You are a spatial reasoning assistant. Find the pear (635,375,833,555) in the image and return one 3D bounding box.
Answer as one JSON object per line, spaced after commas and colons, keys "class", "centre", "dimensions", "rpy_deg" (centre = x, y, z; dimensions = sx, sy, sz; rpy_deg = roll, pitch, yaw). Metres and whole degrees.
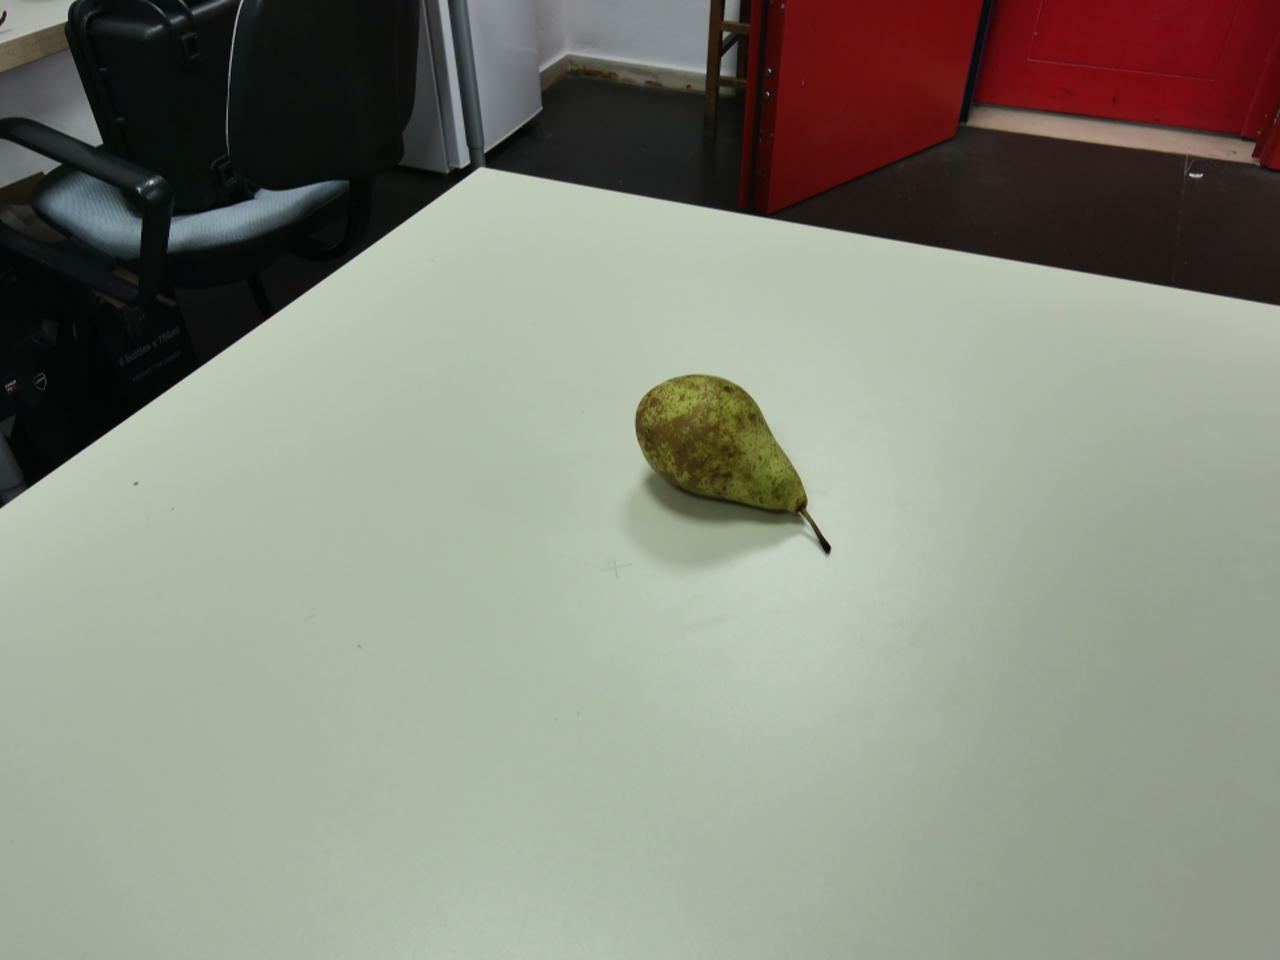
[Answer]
{"class": "pear", "centre": [0.058, -0.021, 0.590], "dimensions": [0.128, 0.075, 0.071], "rpy_deg": [12, 40, 13]}
